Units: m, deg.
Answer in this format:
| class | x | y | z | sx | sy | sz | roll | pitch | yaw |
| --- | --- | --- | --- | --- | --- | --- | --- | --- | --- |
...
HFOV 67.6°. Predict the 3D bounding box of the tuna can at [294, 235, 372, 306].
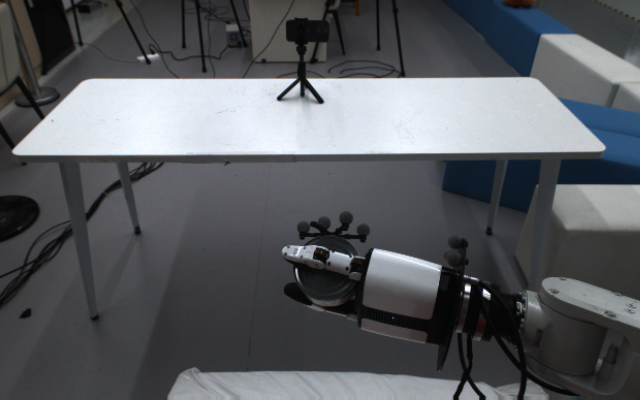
| class | x | y | z | sx | sy | sz | roll | pitch | yaw |
| --- | --- | --- | --- | --- | --- | --- | --- | --- | --- |
| tuna can | 0.013 | 0.094 | 0.609 | 0.085 | 0.034 | 0.085 | -3 | 62 | 7 |
